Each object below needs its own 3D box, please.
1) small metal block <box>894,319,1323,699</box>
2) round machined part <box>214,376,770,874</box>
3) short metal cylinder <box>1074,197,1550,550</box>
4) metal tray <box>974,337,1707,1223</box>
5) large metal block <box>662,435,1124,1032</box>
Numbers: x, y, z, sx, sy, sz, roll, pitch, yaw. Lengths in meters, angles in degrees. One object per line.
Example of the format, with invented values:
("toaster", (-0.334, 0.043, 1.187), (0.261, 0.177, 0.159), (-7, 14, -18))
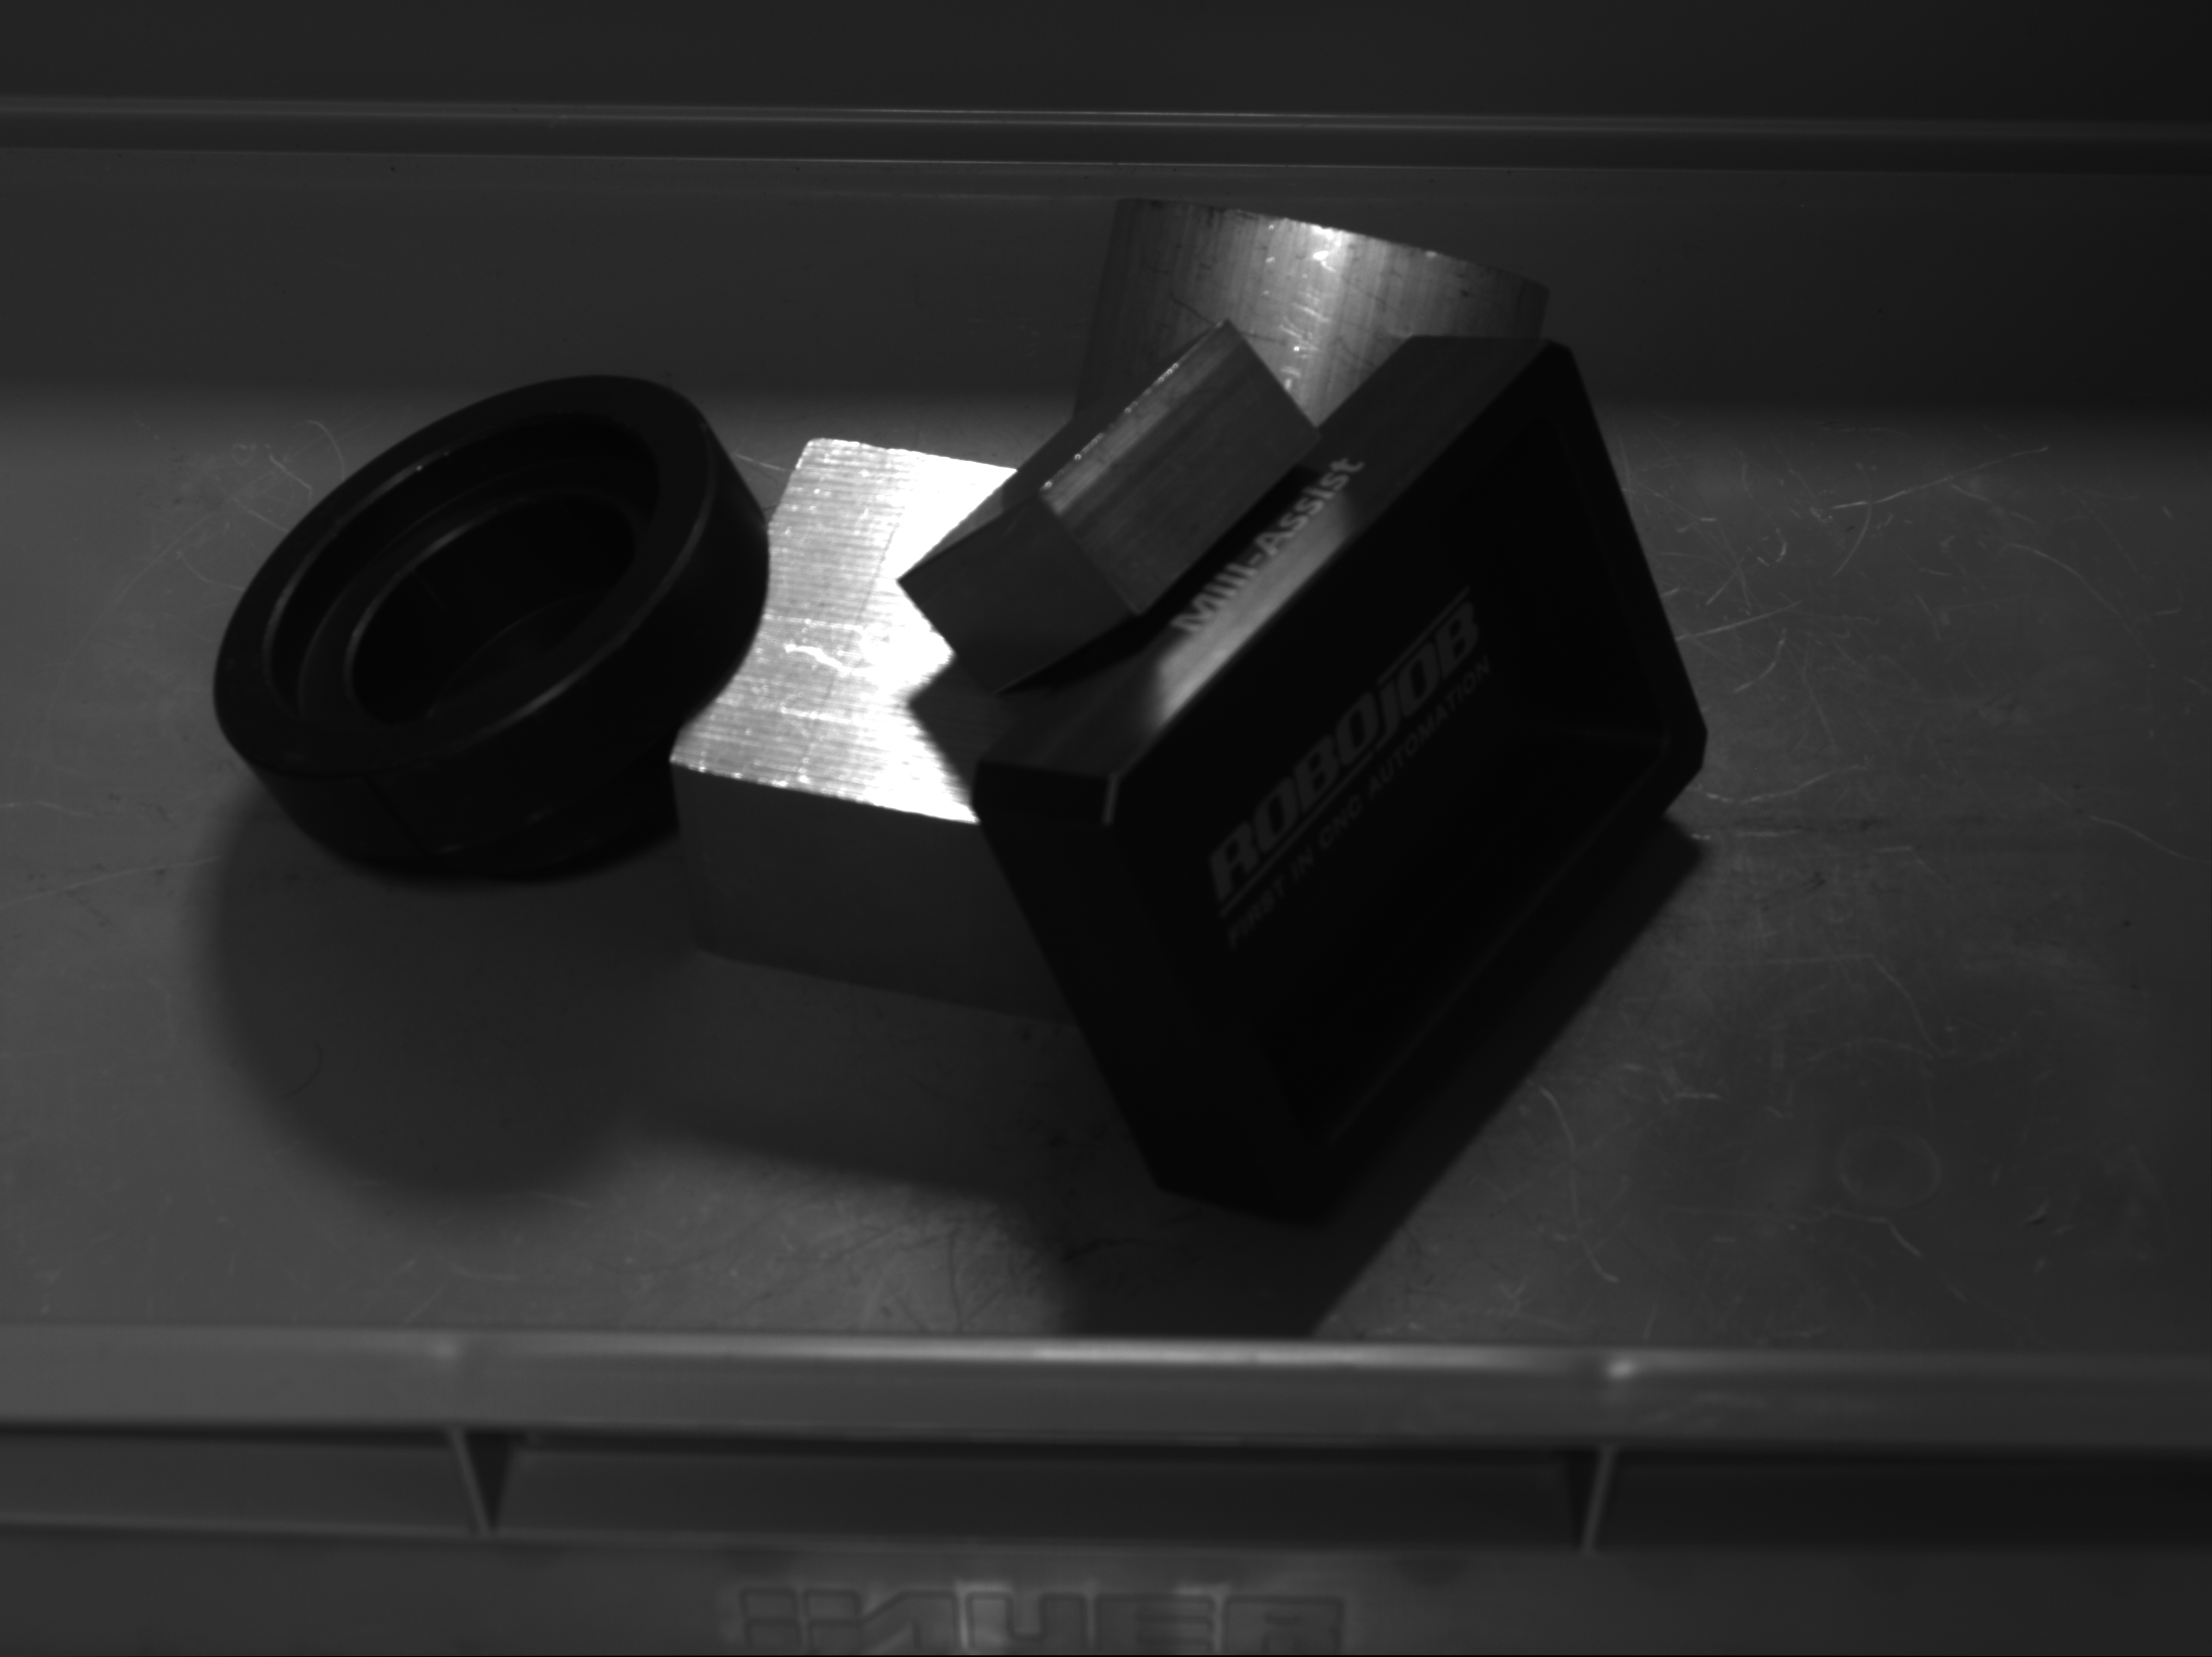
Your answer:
("small metal block", (0.000, -0.052, 0.600), (0.025, 0.050, 0.050), (50, 59, -9))
("round machined part", (-0.102, -0.031, 0.640), (0.098, 0.042, 0.098), (-17, 42, 16))
("short metal cylinder", (0.036, -0.081, 0.665), (0.080, 0.080, 0.050), (13, 95, 10))
("metal tray", (0.043, -0.010, 0.605), (0.030, 0.090, 0.130), (8, 43, 44))
("large metal block", (-0.024, -0.016, 0.638), (0.080, 0.050, 0.080), (11, 51, 10))
